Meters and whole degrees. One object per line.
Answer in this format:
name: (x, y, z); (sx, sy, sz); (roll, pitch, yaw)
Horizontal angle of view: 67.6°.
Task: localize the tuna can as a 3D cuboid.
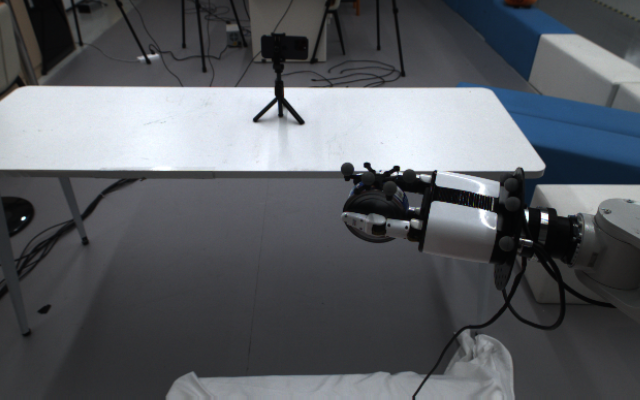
tuna can: (0.077, 0.011, 0.650); (0.085, 0.085, 0.034); (10, 34, 11)
